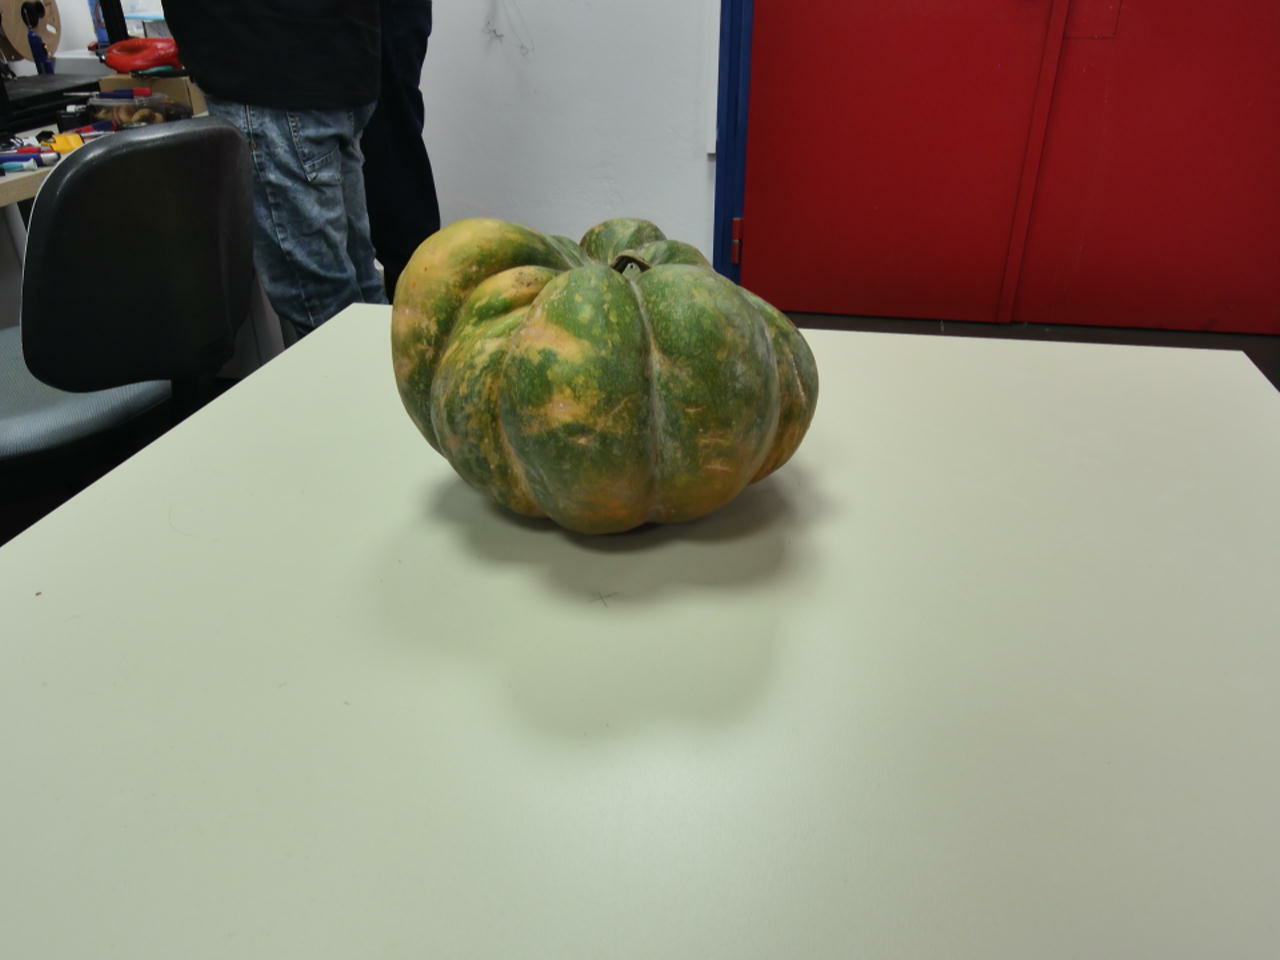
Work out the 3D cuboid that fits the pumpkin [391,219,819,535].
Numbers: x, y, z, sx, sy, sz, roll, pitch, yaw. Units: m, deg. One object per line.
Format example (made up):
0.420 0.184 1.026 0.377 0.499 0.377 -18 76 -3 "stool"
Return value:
-0.021 -0.073 0.614 0.237 0.173 0.270 -21 33 -36 "pumpkin"
